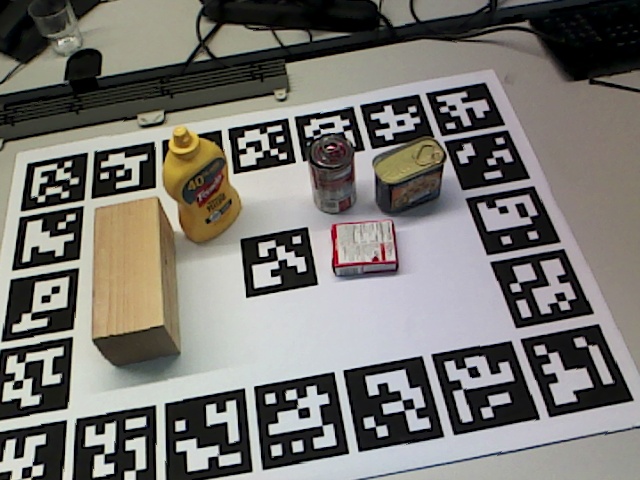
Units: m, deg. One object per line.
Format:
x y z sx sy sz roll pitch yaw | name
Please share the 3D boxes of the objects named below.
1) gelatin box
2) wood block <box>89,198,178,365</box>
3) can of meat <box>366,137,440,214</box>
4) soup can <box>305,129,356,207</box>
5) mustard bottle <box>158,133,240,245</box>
0.061 0.011 0.867 0.089 0.030 0.073 -4 57 7 | gelatin box
-0.249 0.052 0.845 0.091 0.089 0.207 -9 51 -2 | wood block
0.119 -0.092 0.904 0.101 0.083 0.058 -22 57 -11 | can of meat
0.018 -0.102 0.901 0.068 0.101 0.068 -3 57 5 | soup can
-0.174 -0.077 0.868 0.096 0.191 0.059 -32 58 -17 | mustard bottle
